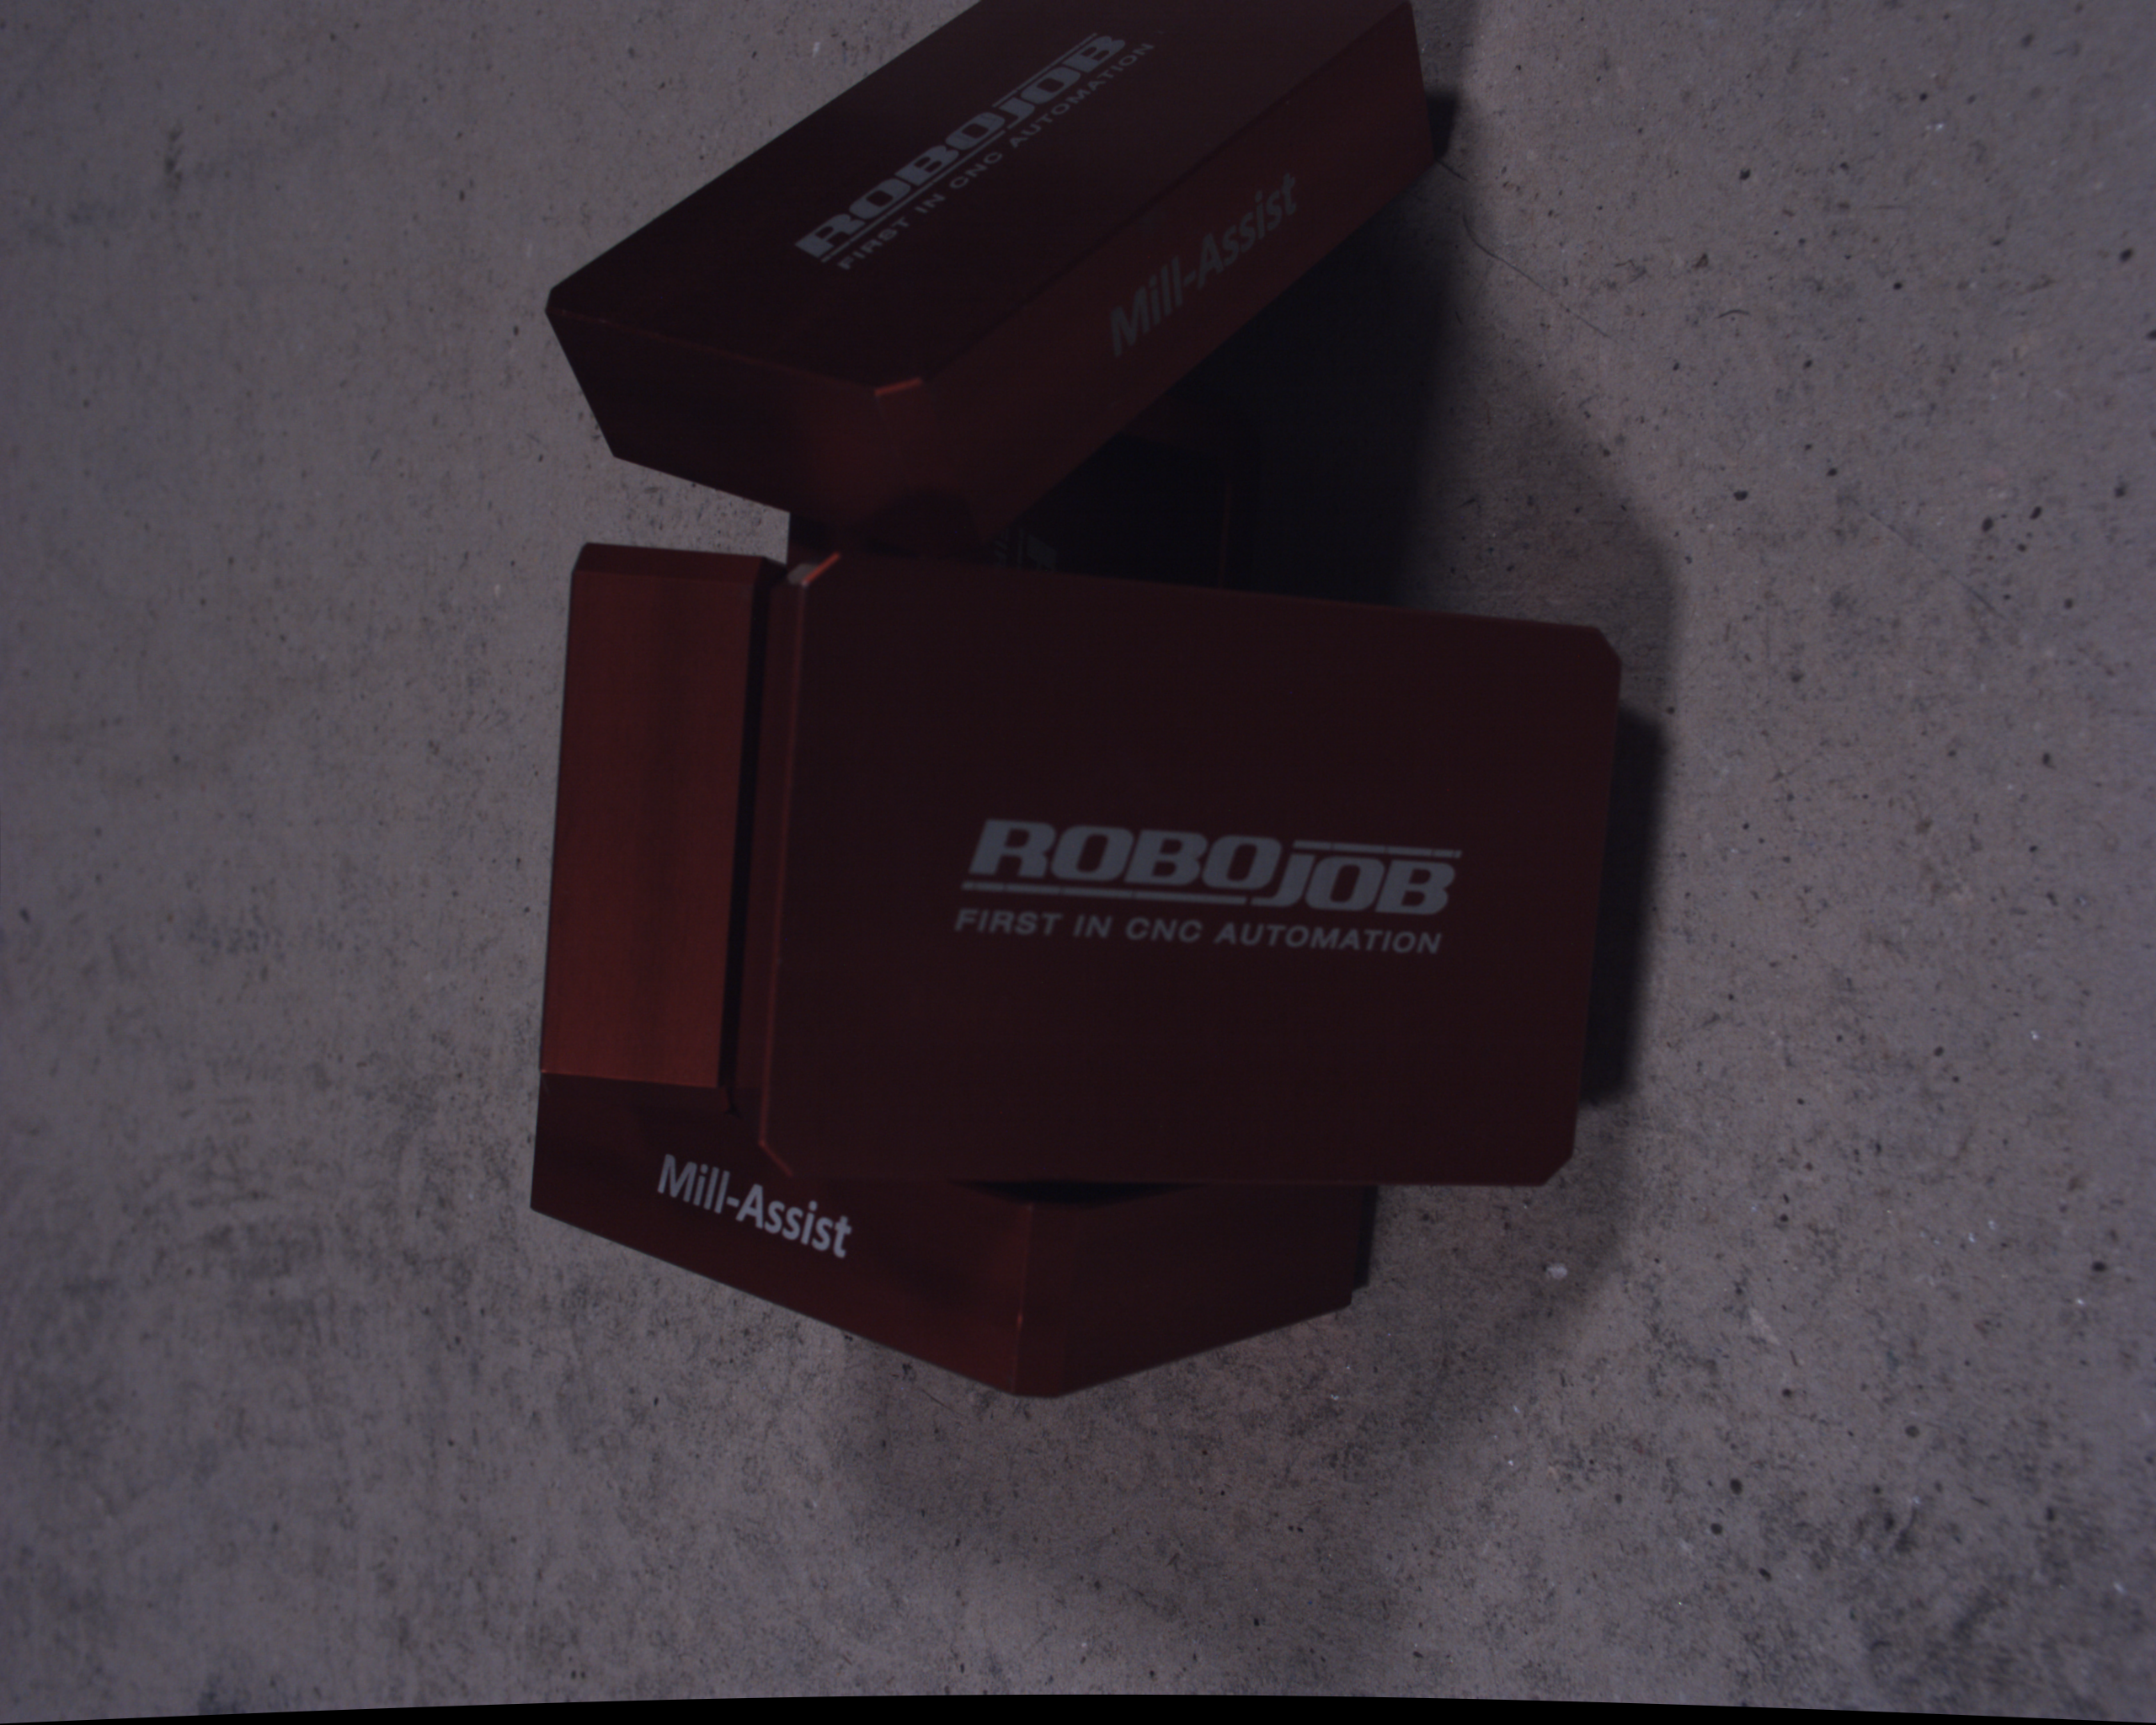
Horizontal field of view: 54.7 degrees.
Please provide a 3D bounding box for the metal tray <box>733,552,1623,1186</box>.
[{"bbox_3d":[0.016,0.003,0.326,0.030,0.131,0.089,-162,76,-72],"label":"metal tray"}]

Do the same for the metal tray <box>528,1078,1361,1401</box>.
[{"bbox_3d":[-0.026,0.058,0.383,0.130,0.091,0.030,9,96,39],"label":"metal tray"}]

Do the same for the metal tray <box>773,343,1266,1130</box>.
[{"bbox_3d":[-0.010,-0.021,0.370,0.030,0.091,0.129,9,96,39],"label":"metal tray"}]

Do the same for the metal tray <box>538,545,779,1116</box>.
[{"bbox_3d":[-0.064,-0.009,0.394,0.030,0.130,0.089,5,94,3],"label":"metal tray"}]

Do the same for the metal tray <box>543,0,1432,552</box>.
[{"bbox_3d":[-0.013,-0.109,0.355,0.090,0.131,0.030,22,145,37],"label":"metal tray"}]
